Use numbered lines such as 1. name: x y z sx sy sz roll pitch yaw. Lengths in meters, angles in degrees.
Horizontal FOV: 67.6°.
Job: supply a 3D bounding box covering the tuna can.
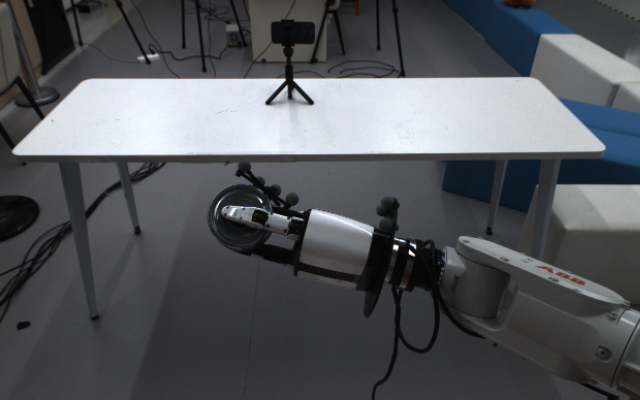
1. tuna can: -0.099 0.029 0.631 0.085 0.034 0.085 0 73 -1
